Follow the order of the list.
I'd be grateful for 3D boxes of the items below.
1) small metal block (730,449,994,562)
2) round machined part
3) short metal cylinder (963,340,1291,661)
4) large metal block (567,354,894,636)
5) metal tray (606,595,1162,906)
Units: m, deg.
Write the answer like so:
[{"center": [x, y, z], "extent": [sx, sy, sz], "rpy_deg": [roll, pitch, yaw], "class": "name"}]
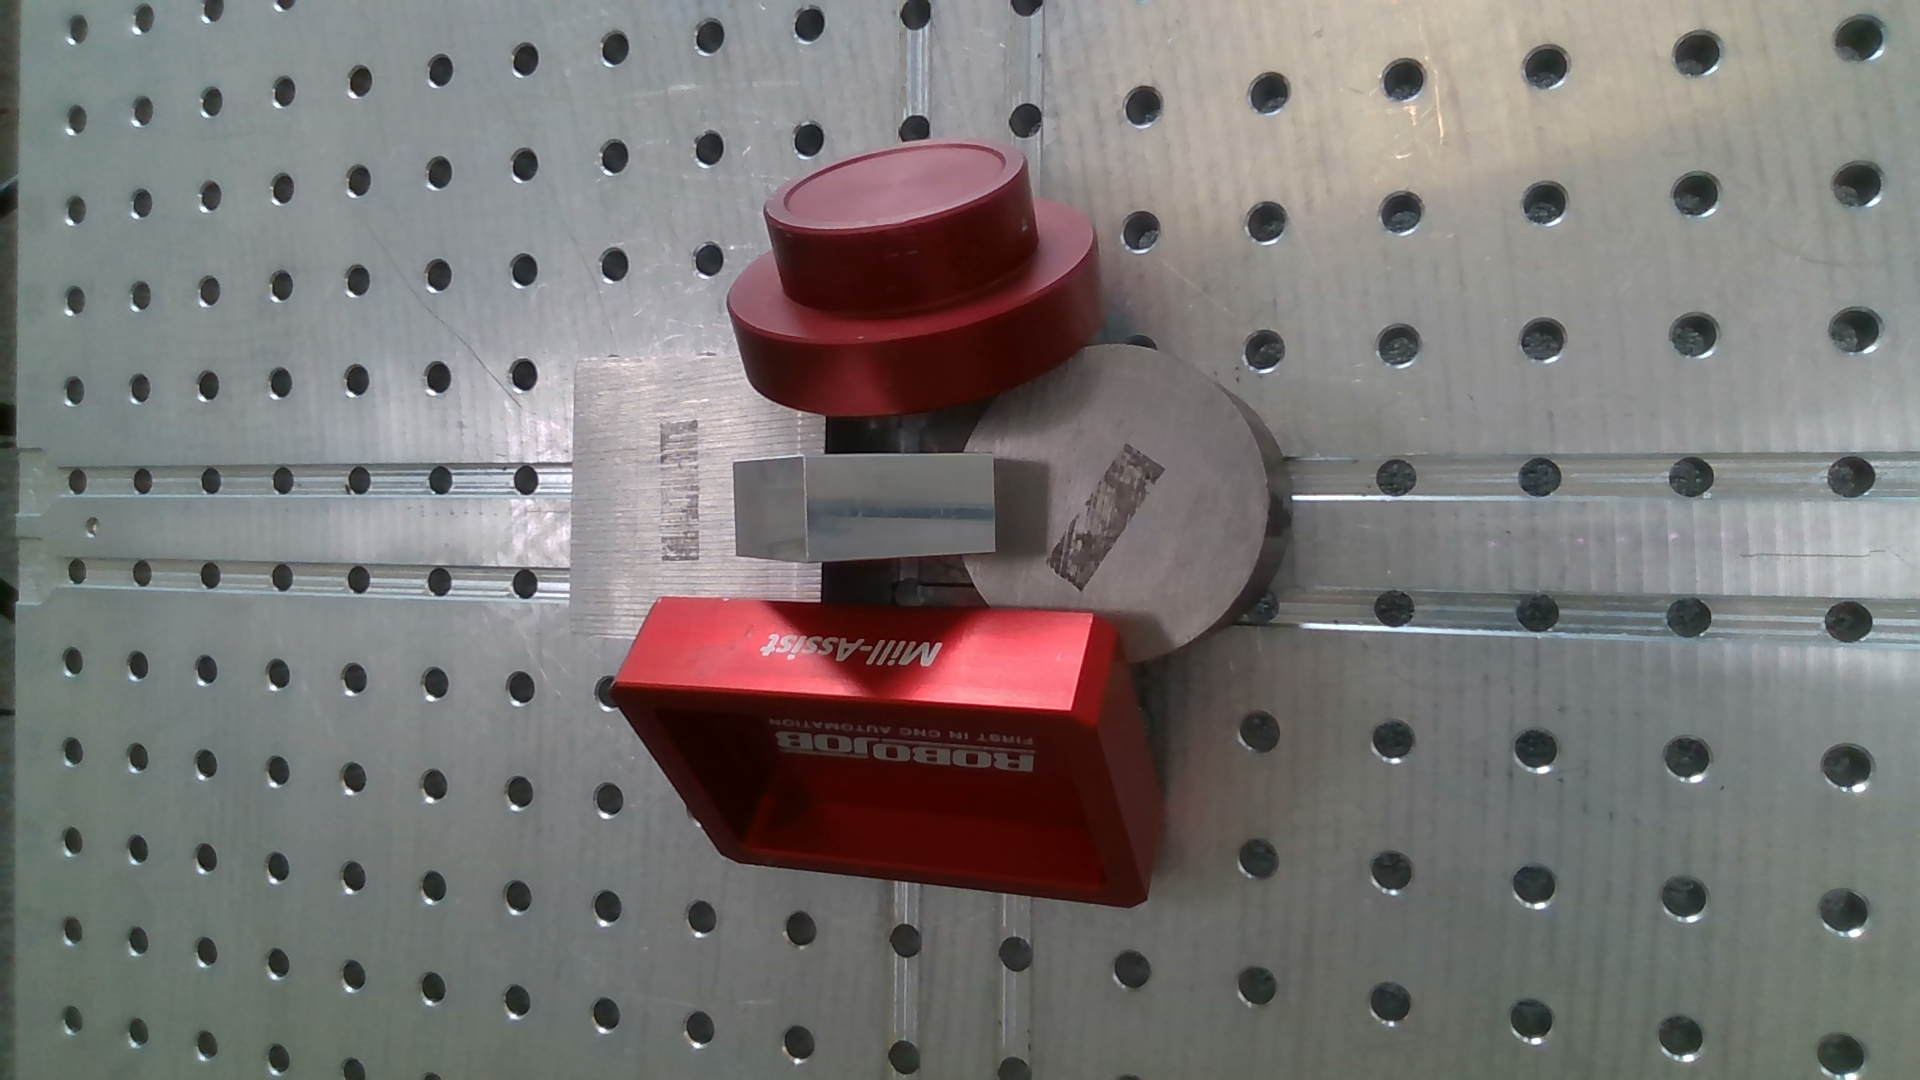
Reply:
[{"center": [-0.026, -0.009, 0.347], "extent": [0.050, 0.050, 0.025], "rpy_deg": [4, 96, 62], "class": "small metal block"}, {"center": [-0.014, -0.074, 0.358], "extent": [0.098, 0.098, 0.042], "rpy_deg": [1, 124, 20], "class": "round machined part"}, {"center": [0.044, -0.010, 0.366], "extent": [0.080, 0.050, 0.080], "rpy_deg": [0, 90, 20], "class": "short metal cylinder"}, {"center": [-0.066, -0.012, 0.407], "extent": [0.080, 0.050, 0.080], "rpy_deg": [2, 91, 20], "class": "large metal block"}, {"center": [-0.018, 0.057, 0.370], "extent": [0.130, 0.090, 0.030], "rpy_deg": [1, 48, 20], "class": "metal tray"}]
